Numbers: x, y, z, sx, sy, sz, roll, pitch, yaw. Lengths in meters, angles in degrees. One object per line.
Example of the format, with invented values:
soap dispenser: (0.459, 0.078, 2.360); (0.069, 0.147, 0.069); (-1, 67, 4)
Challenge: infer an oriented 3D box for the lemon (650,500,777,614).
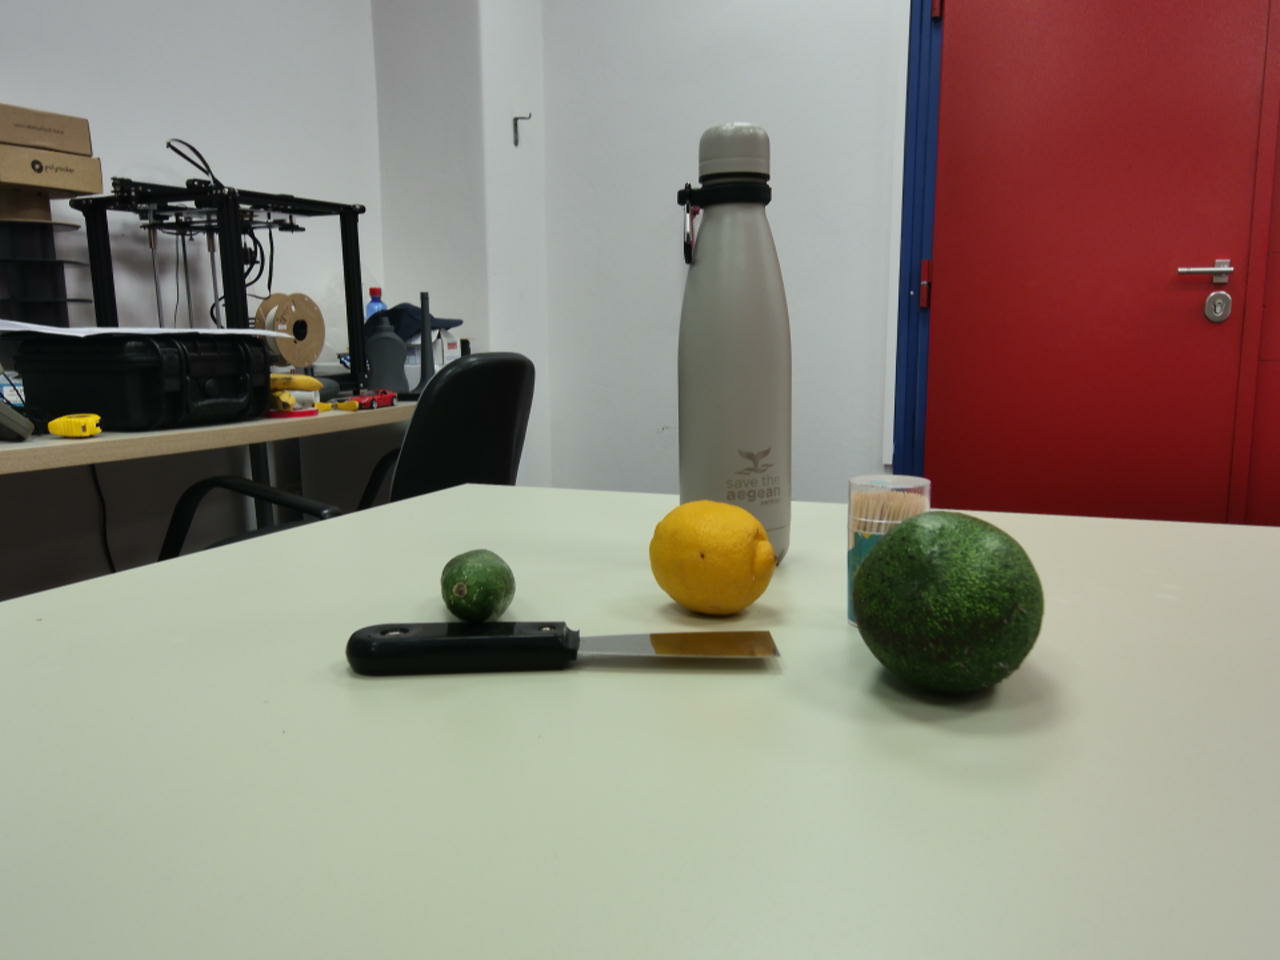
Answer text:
lemon: (0.038, 0.041, 0.533); (0.061, 0.059, 0.067); (-2, 6, -24)
